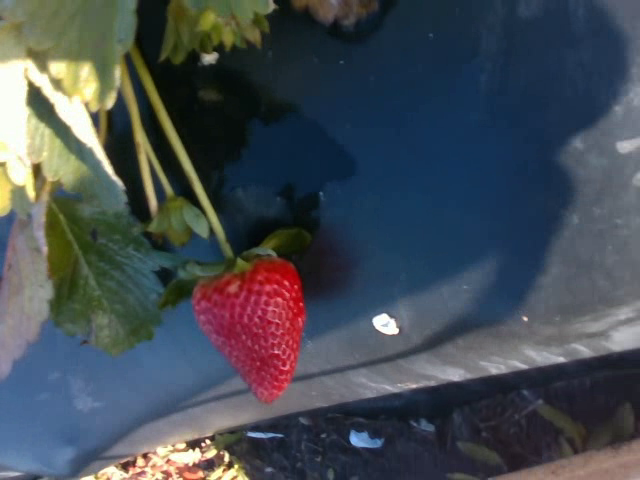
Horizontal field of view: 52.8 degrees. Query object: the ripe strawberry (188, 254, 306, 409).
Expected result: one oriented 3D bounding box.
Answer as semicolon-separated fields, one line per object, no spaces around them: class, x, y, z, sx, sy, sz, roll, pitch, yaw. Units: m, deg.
ripe strawberry;-0.021;0.031;0.214;0.045;0.055;0.041;-19;-8;16
